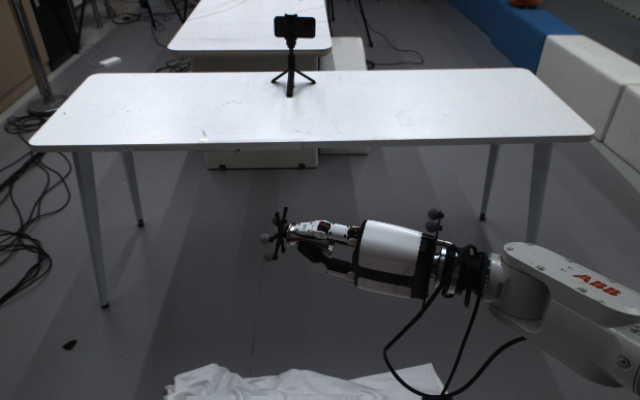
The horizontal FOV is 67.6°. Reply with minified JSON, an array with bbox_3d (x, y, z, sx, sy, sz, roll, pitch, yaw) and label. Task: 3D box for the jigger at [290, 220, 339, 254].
[{"bbox_3d":[-0.008,0.054,0.751,0.071,0.043,0.043,8,35,14],"label":"jigger"}]
